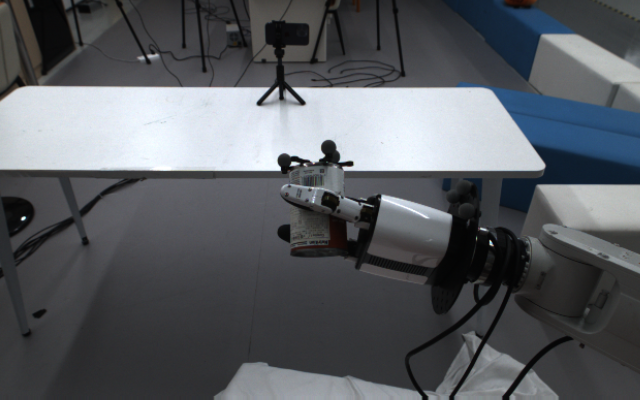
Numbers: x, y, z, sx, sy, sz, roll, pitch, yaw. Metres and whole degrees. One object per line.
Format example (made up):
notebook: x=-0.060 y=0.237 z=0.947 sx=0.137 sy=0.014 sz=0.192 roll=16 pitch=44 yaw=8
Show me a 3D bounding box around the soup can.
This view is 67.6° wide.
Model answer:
soup can: x=0.000 y=0.012 z=0.569 sx=0.067 sy=0.067 sz=0.101 roll=-2 pitch=76 yaw=-6
